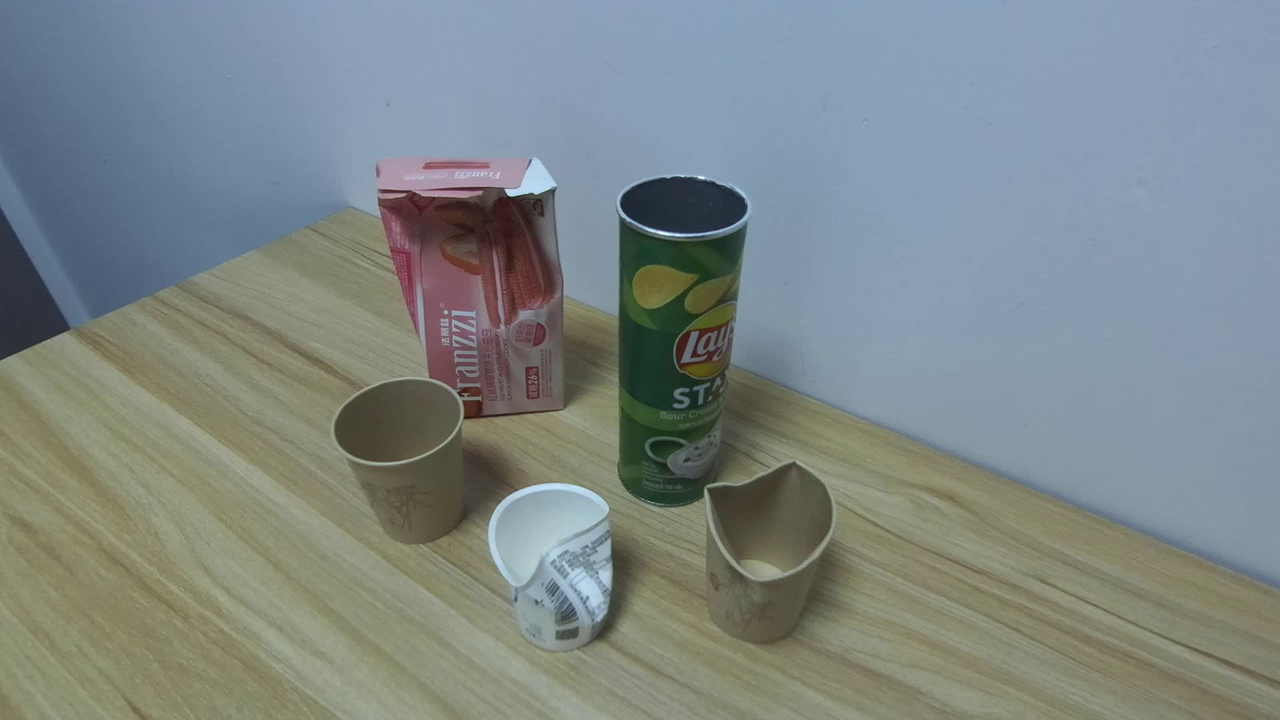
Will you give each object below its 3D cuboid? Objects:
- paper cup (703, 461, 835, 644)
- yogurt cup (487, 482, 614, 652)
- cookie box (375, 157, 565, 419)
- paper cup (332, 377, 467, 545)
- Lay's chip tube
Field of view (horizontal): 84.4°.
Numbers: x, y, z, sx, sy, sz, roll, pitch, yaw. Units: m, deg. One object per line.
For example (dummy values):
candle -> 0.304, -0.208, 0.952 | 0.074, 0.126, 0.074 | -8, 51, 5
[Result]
paper cup -> 0.070, 0.109, 0.381 | 0.072, 0.084, 0.066 | -16, 42, -16
yogurt cup -> -0.046, 0.115, 0.385 | 0.067, 0.070, 0.067 | 0, 41, 1
cookie box -> -0.110, -0.042, 0.486 | 0.118, 0.184, 0.055 | -1, 38, -2
paper cup -> -0.139, 0.065, 0.432 | 0.075, 0.082, 0.075 | 0, 39, 0
Lay's chip tube -> 0.022, -0.004, 0.422 | 0.071, 0.203, 0.071 | 1, 39, -1
